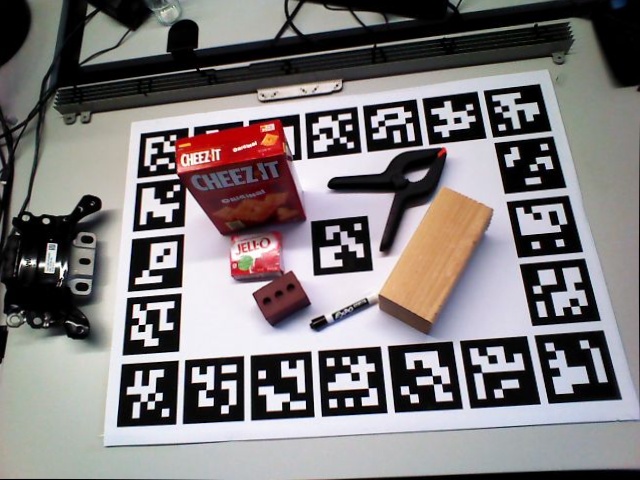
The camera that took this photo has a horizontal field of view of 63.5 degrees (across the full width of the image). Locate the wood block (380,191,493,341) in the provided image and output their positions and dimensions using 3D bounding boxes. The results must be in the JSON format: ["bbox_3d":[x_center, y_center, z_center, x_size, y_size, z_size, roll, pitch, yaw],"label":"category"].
[{"bbox_3d":[0.184,0.040,0.808,0.090,0.091,0.205,29,75,19],"label":"wood block"}]

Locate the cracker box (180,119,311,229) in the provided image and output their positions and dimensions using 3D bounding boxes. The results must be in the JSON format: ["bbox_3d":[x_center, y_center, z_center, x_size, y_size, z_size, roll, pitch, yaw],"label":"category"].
[{"bbox_3d":[-0.108,-0.096,0.825,0.165,0.214,0.071,-8,68,3],"label":"cracker box"}]

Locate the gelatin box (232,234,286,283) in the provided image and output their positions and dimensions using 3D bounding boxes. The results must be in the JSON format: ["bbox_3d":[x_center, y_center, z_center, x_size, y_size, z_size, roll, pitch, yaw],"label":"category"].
[{"bbox_3d":[-0.104,0.033,0.885,0.090,0.030,0.073,-6,72,6],"label":"gelatin box"}]

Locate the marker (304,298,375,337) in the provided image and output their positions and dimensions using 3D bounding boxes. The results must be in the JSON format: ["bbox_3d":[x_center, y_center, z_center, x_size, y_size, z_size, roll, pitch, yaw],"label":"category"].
[{"bbox_3d":[0.030,0.126,0.833,0.121,0.019,0.019,-24,71,0],"label":"marker"}]

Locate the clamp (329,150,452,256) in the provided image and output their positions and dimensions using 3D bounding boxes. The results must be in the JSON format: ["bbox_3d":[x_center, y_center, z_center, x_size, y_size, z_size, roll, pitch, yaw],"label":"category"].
[{"bbox_3d":[0.142,-0.089,0.884,0.203,0.037,0.165,-34,70,-4],"label":"clamp"}]

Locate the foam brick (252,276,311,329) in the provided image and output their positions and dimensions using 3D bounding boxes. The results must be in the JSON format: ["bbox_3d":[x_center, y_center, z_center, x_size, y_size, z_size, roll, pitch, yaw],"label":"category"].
[{"bbox_3d":[-0.062,0.101,0.840,0.078,0.051,0.052,-28,71,-2],"label":"foam brick"}]
